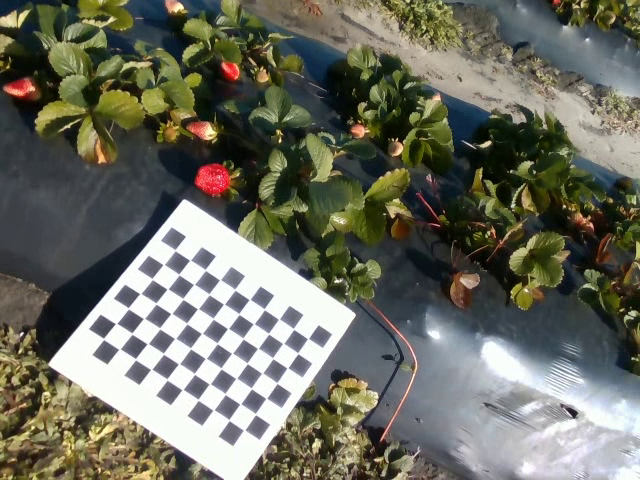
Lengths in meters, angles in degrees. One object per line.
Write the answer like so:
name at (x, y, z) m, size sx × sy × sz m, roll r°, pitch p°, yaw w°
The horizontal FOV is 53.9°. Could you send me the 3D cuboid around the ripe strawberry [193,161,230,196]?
ripe strawberry at (-0.155, -0.093, 0.833) m, size 0.058 × 0.066 × 0.061 m, roll -14°, pitch -6°, yaw 15°
